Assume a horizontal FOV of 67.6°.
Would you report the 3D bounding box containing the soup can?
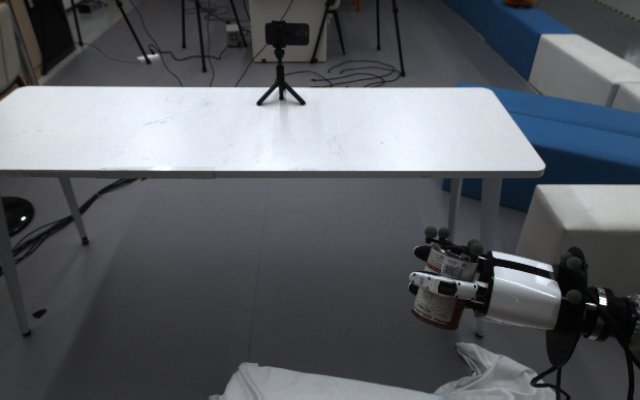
[{"bbox_3d":[0.176,0.118,0.674,0.067,0.101,0.067,15,7,-2],"label":"soup can"}]
